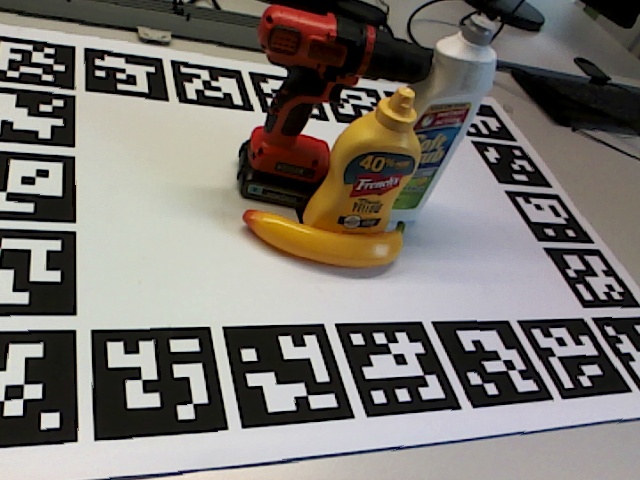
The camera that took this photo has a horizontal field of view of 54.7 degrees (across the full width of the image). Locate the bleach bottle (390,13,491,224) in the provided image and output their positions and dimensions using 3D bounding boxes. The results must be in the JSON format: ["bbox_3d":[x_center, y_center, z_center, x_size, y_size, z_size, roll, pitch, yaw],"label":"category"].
[{"bbox_3d":[0.115,-0.133,0.702,0.102,0.251,0.068,4,40,-21],"label":"bleach bottle"}]

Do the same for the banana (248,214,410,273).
[{"bbox_3d":[0.019,0.002,0.685,0.196,0.039,0.074,5,47,-18],"label":"banana"}]

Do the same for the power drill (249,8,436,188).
[{"bbox_3d":[0.010,-0.145,0.670,0.184,0.187,0.057,13,42,-15],"label":"power drill"}]

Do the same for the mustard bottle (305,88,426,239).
[{"bbox_3d":[0.057,-0.077,0.654,0.096,0.191,0.059,3,46,-23],"label":"mustard bottle"}]
